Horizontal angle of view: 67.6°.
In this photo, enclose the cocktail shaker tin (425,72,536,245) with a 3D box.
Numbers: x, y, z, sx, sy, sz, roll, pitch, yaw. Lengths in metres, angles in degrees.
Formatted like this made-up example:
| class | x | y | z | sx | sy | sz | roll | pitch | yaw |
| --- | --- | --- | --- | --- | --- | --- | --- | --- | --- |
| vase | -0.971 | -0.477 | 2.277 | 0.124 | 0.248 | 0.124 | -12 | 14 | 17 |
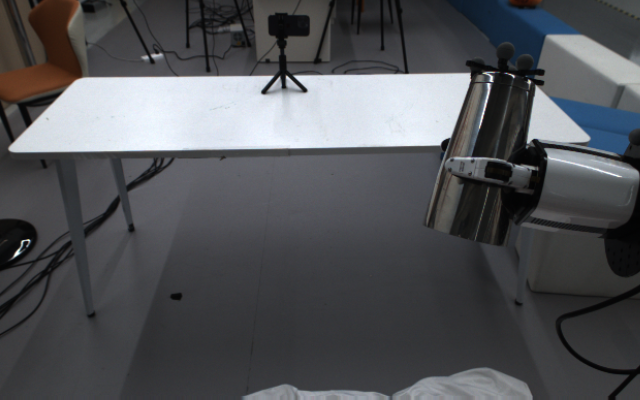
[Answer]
| class | x | y | z | sx | sy | sz | roll | pitch | yaw |
| --- | --- | --- | --- | --- | --- | --- | --- | --- | --- |
| cocktail shaker tin | 0.178 | -0.045 | 0.523 | 0.093 | 0.170 | 0.093 | 13 | 4 | -1 |
